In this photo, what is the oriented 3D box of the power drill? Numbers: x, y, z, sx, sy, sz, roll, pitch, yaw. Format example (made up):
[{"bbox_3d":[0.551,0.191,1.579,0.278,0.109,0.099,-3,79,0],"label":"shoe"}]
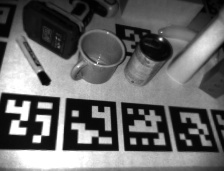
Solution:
[{"bbox_3d":[-0.097,-0.183,0.511,0.185,0.057,0.187,31,55,-5],"label":"power drill"}]

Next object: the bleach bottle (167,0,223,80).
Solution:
[{"bbox_3d":[0.208,-0.116,0.460,0.068,0.250,0.103,28,56,0],"label":"bleach bottle"}]

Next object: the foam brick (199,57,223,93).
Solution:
[{"bbox_3d":[0.264,-0.029,0.535,0.052,0.078,0.051,32,55,4],"label":"foam brick"}]

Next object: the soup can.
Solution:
[{"bbox_3d":[0.072,-0.065,0.465,0.068,0.102,0.067,10,55,-14],"label":"soup can"}]

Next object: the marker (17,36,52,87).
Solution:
[{"bbox_3d":[-0.156,-0.048,0.435,0.020,0.019,0.120,-27,74,-27],"label":"marker"}]

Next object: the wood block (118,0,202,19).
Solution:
[{"bbox_3d":[0.127,-0.249,0.602,0.208,0.091,0.089,3,62,-18],"label":"wood block"}]

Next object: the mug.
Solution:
[{"bbox_3d":[-0.035,-0.060,0.442,0.093,0.081,0.118,42,60,5],"label":"mug"}]

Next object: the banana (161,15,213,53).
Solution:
[{"bbox_3d":[0.206,-0.156,0.604,0.198,0.038,0.074,19,71,-11],"label":"banana"}]
